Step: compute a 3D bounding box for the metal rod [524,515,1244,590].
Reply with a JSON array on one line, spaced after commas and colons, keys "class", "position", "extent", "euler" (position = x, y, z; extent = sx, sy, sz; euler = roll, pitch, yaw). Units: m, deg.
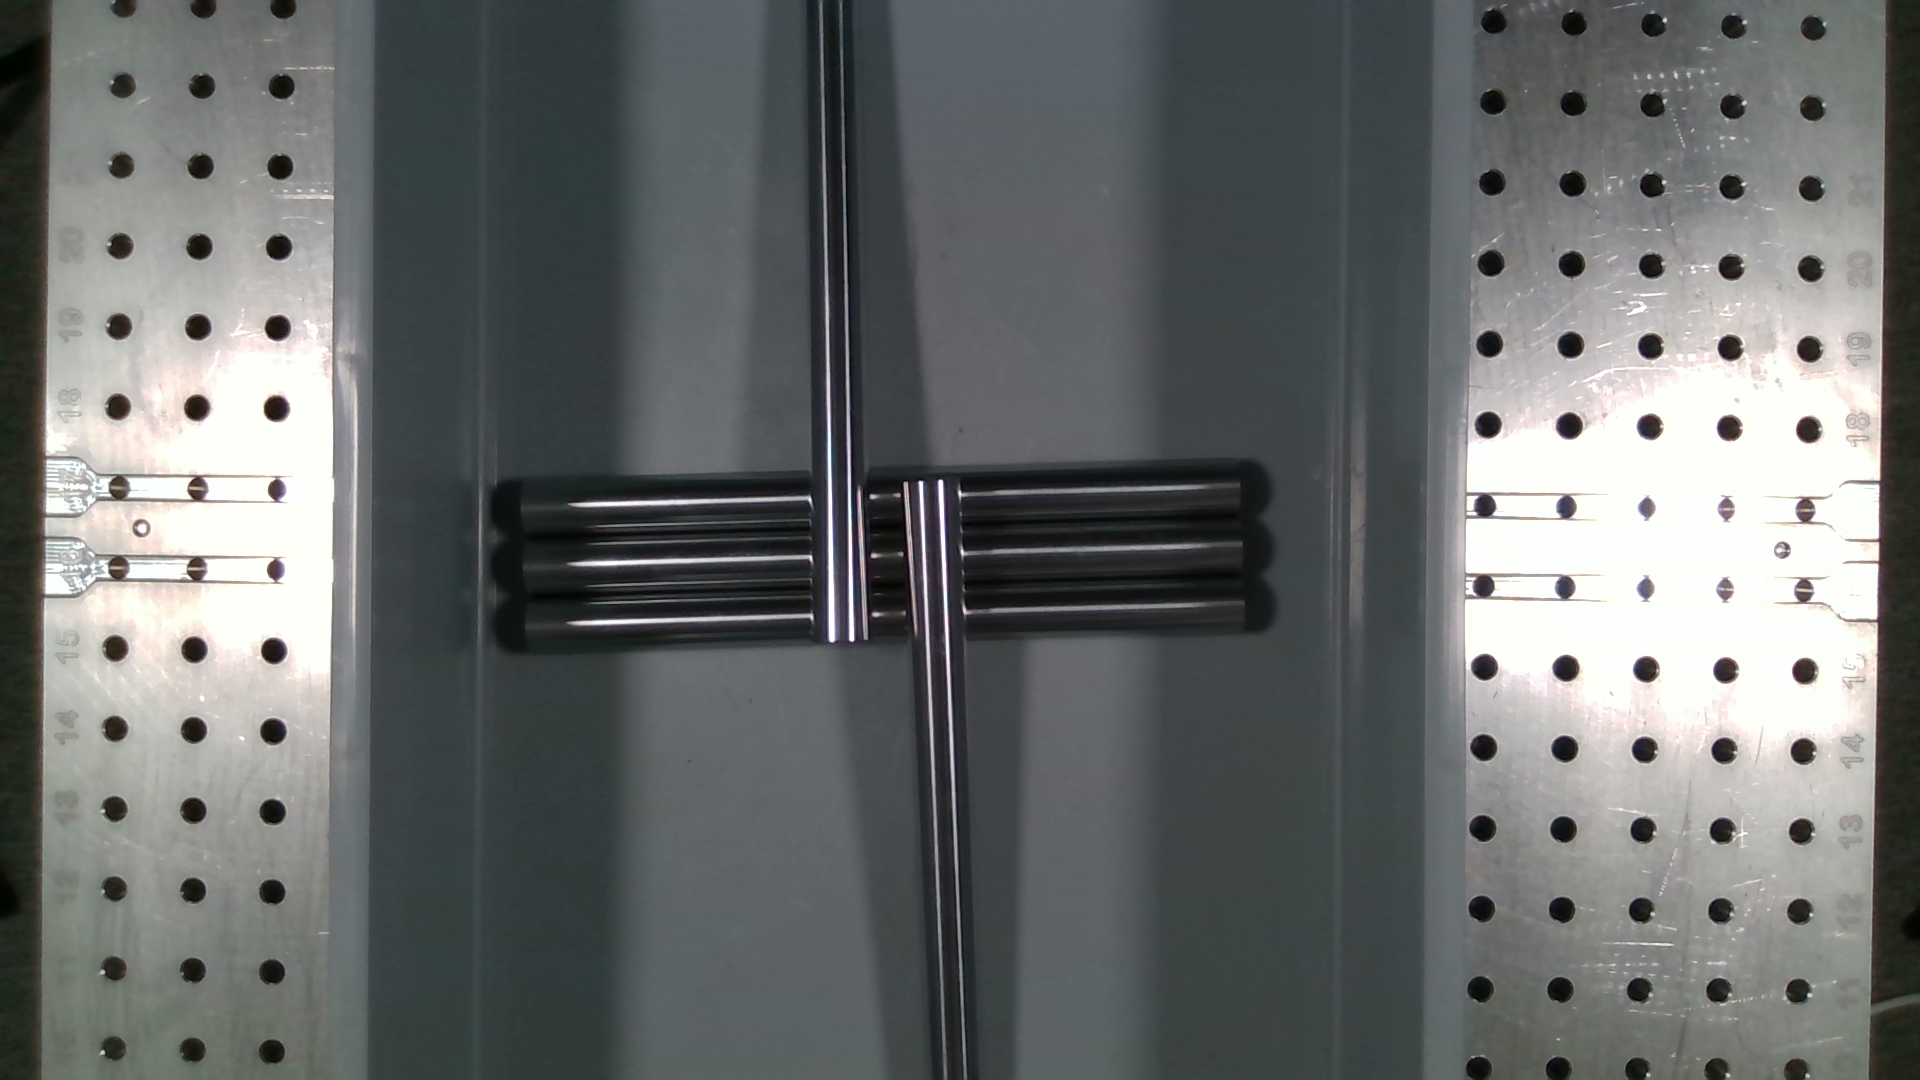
[{"class": "metal rod", "position": [-0.032, 0.006, 0.586], "extent": [0.300, 0.025, 0.025], "euler": [-2, 90, 0]}]

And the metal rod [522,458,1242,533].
[{"class": "metal rod", "position": [-0.032, -0.019, 0.586], "extent": [0.300, 0.025, 0.025], "euler": [-2, 90, 0]}]

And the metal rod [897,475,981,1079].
[{"class": "metal rod", "position": [-0.007, 0.123, 0.570], "extent": [0.025, 0.025, 0.300], "euler": [-2, 97, 0]}]

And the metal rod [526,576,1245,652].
[{"class": "metal rod", "position": [-0.031, 0.031, 0.586], "extent": [0.300, 0.025, 0.025], "euler": [-2, 90, 0]}]

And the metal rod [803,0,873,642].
[{"class": "metal rod", "position": [-0.051, -0.108, 0.569], "extent": [0.025, 0.025, 0.300], "euler": [-1, 84, 0]}]
